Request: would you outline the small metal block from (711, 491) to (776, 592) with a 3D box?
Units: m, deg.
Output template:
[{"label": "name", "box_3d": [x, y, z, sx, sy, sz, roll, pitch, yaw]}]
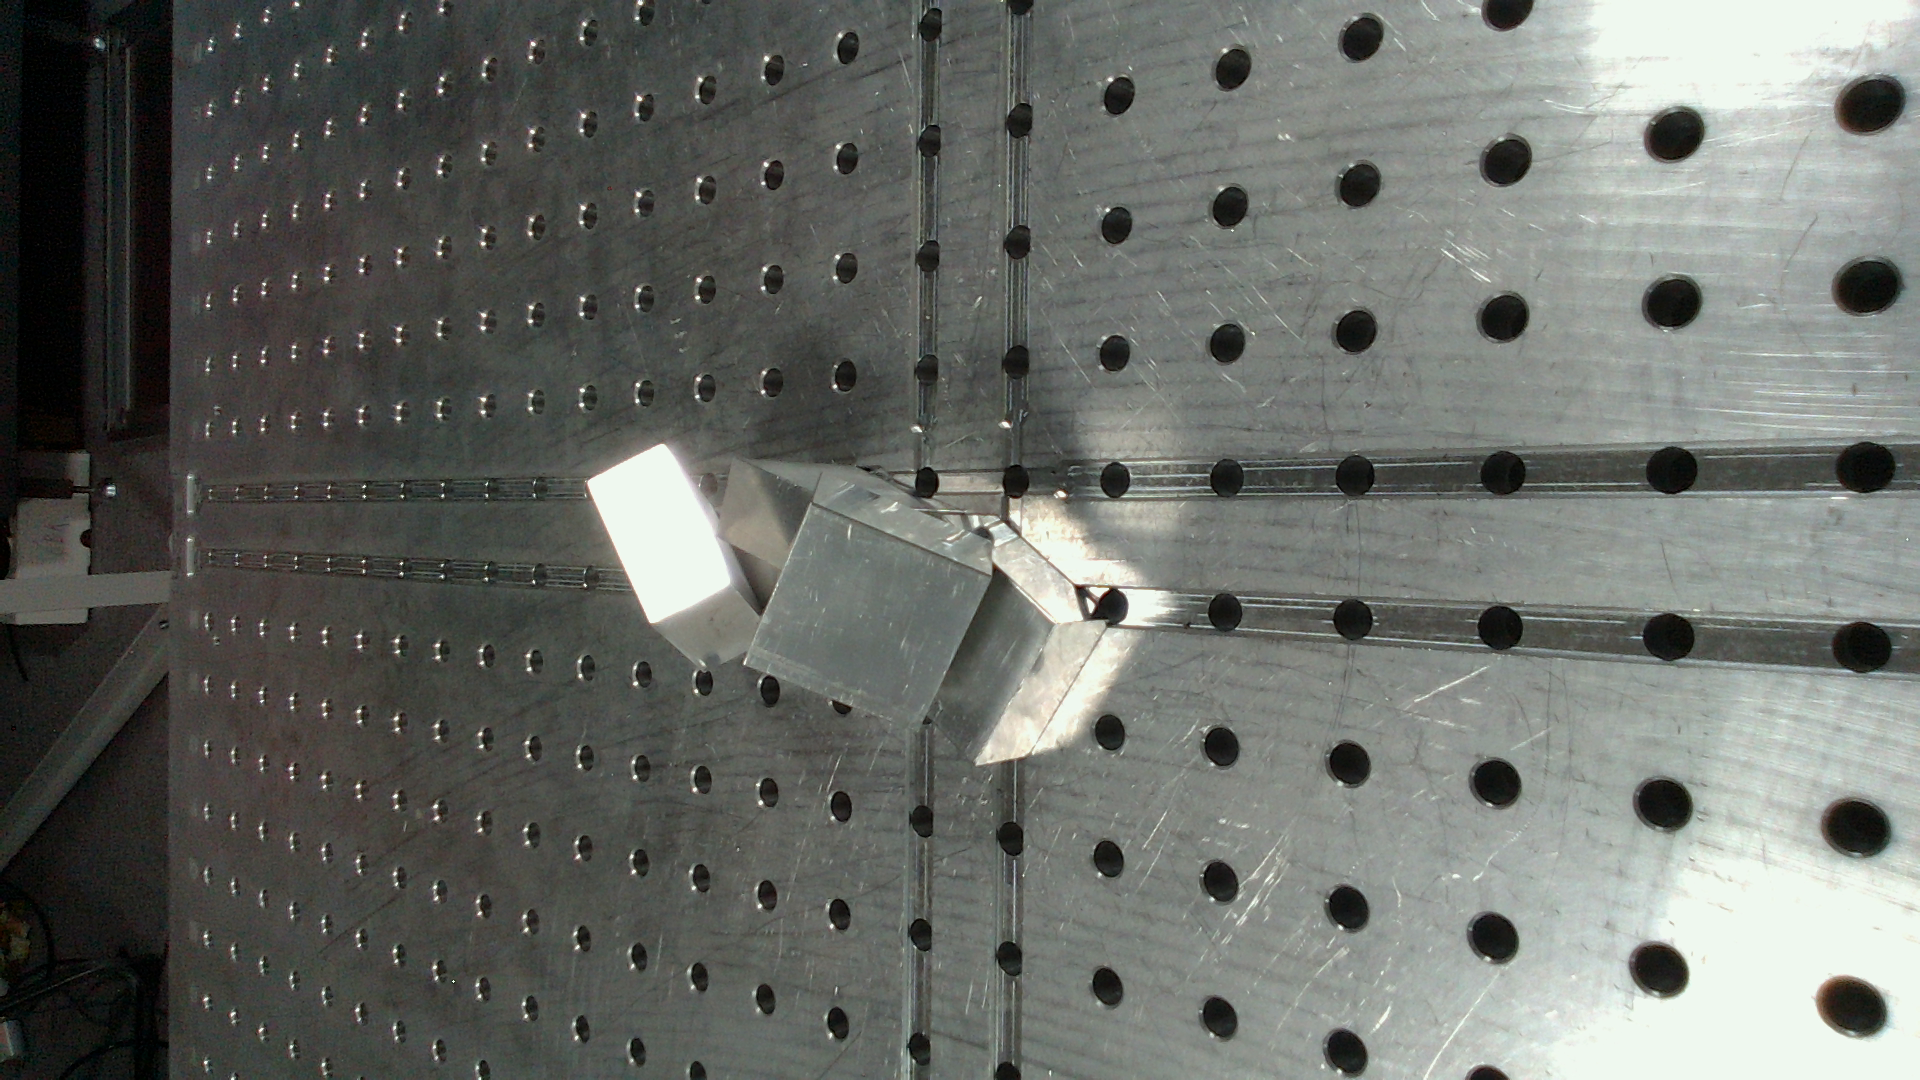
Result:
[{"label": "small metal block", "box_3d": [-0.066, 0.009, 0.454, 0.050, 0.025, 0.050, -25, 74, 37]}]

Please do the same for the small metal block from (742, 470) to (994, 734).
[{"label": "small metal block", "box_3d": [-0.024, 0.017, 0.367, 0.050, 0.025, 0.050, 22, 109, -8]}]

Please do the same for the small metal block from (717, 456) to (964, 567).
[{"label": "small metal block", "box_3d": [-0.036, -0.005, 0.412, 0.050, 0.050, 0.025, 24, 105, 38]}]

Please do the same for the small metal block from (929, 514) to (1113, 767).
[{"label": "small metal block", "box_3d": [0.007, 0.028, 0.392, 0.050, 0.025, 0.050, 43, 116, 32]}]

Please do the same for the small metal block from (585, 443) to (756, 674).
[{"label": "small metal block", "box_3d": [-0.084, 0.007, 0.416, 0.025, 0.050, 0.050, -28, 67, -4]}]
